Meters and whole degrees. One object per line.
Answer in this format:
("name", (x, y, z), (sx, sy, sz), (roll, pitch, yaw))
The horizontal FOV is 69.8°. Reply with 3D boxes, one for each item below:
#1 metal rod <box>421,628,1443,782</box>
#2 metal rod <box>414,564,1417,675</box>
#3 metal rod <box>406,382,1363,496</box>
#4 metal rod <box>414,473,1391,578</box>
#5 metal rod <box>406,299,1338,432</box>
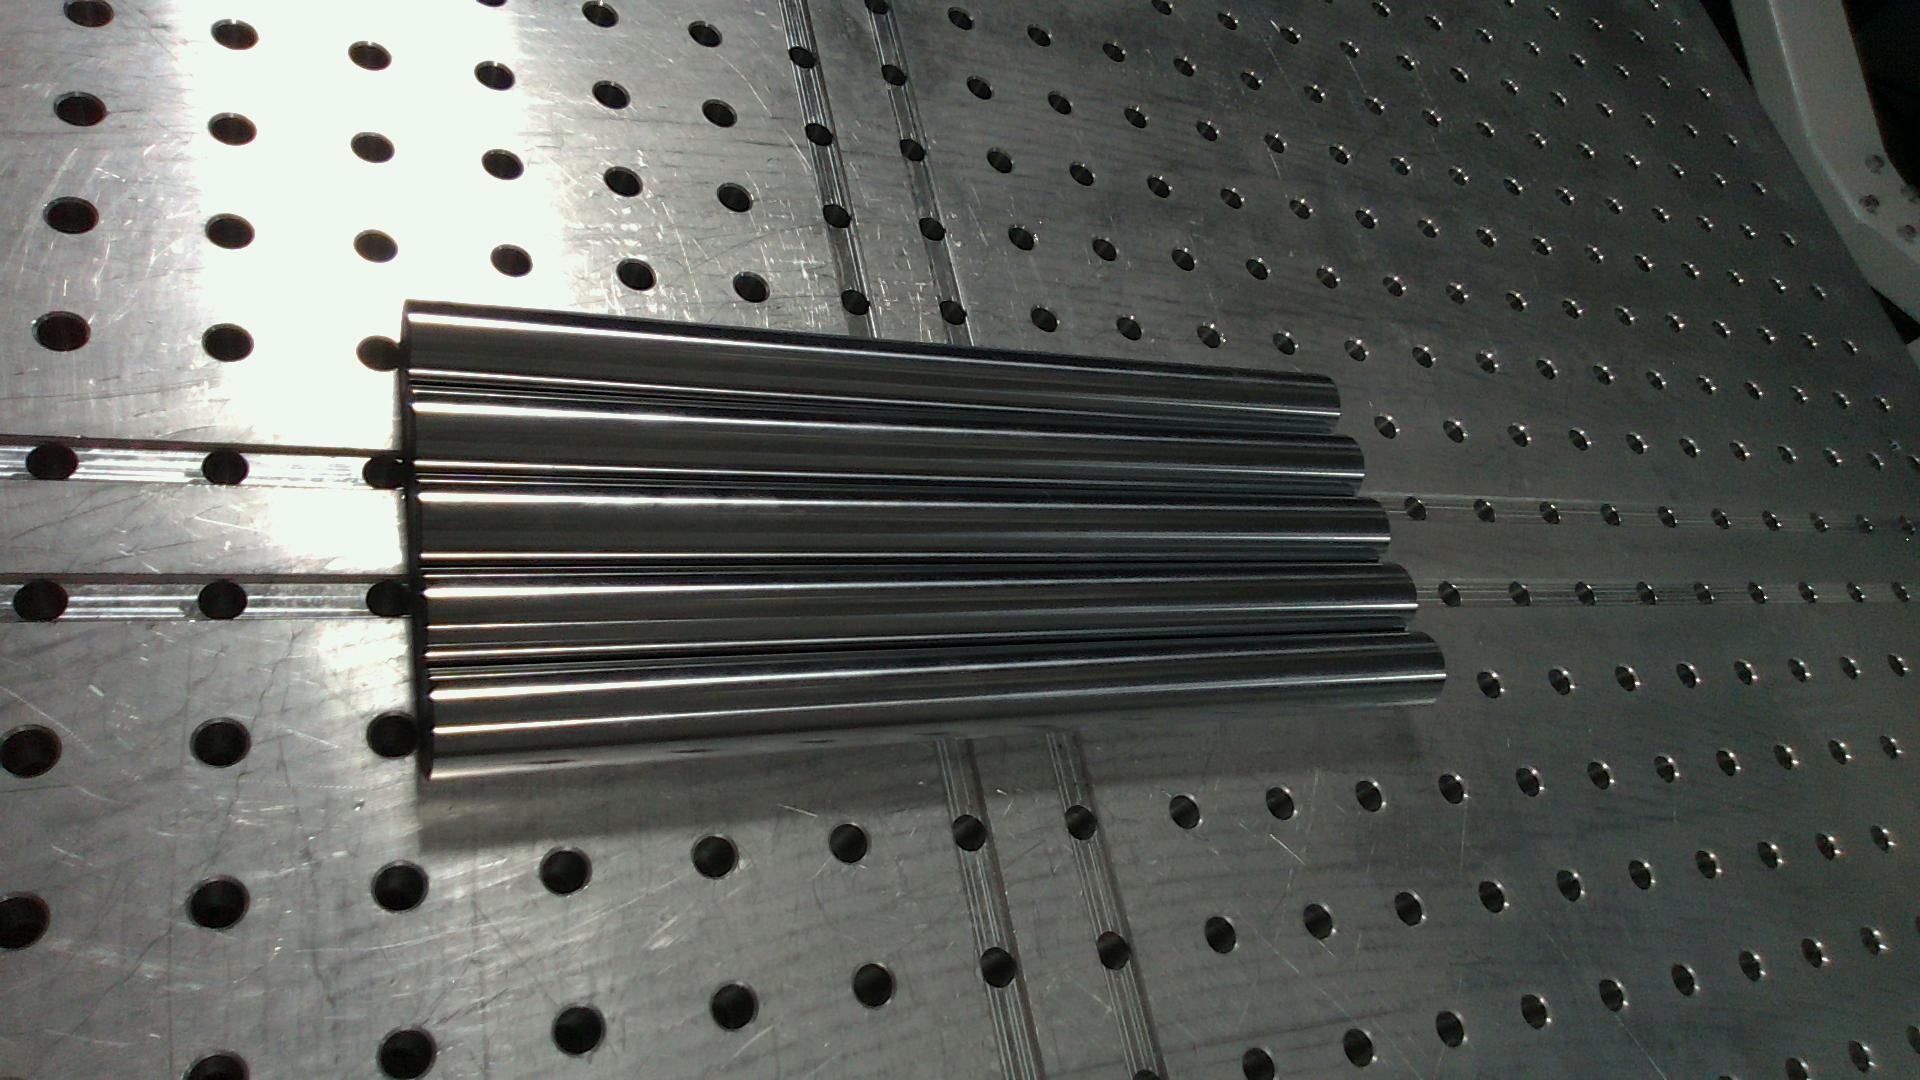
("metal rod", (0.015, 0.041, 0.375), (0.301, 0.025, 0.025), (0, 62, -28))
("metal rod", (0.009, 0.020, 0.385), (0.301, 0.025, 0.025), (0, 61, -28))
("metal rod", (-0.002, -0.025, 0.407), (0.301, 0.025, 0.025), (0, 61, -28))
("metal rod", (0.004, -0.002, 0.396), (0.301, 0.025, 0.025), (0, 61, -28))
("metal rod", (-0.007, -0.047, 0.418), (0.301, 0.025, 0.025), (0, 61, -28))
